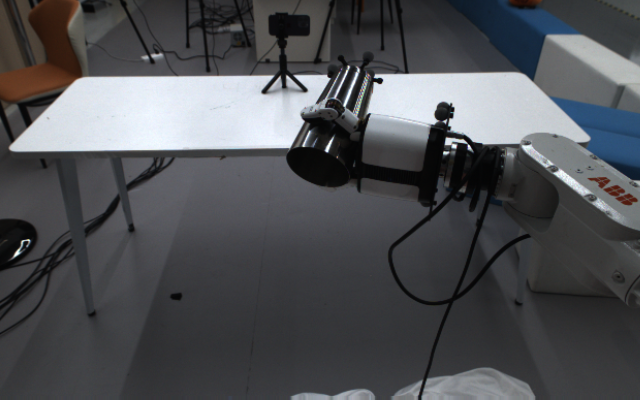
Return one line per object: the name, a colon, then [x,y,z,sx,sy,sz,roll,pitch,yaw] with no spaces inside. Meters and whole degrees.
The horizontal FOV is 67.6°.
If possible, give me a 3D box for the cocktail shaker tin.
cocktail shaker tin: [0.022,-0.114,0.702,0.093,0.093,0.170,13,60,16]
